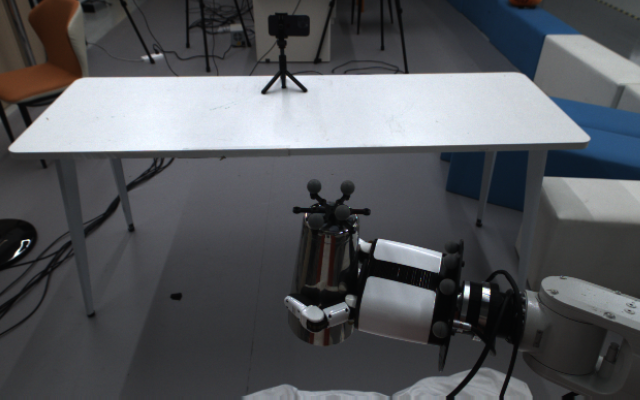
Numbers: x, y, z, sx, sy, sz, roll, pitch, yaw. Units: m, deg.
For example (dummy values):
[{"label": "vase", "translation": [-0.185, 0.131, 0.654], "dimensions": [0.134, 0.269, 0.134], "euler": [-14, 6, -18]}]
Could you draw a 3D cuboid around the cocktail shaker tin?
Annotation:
[{"label": "cocktail shaker tin", "translation": [0.011, 0.088, 0.605], "dimensions": [0.093, 0.170, 0.093], "euler": [3, 34, -2]}]
